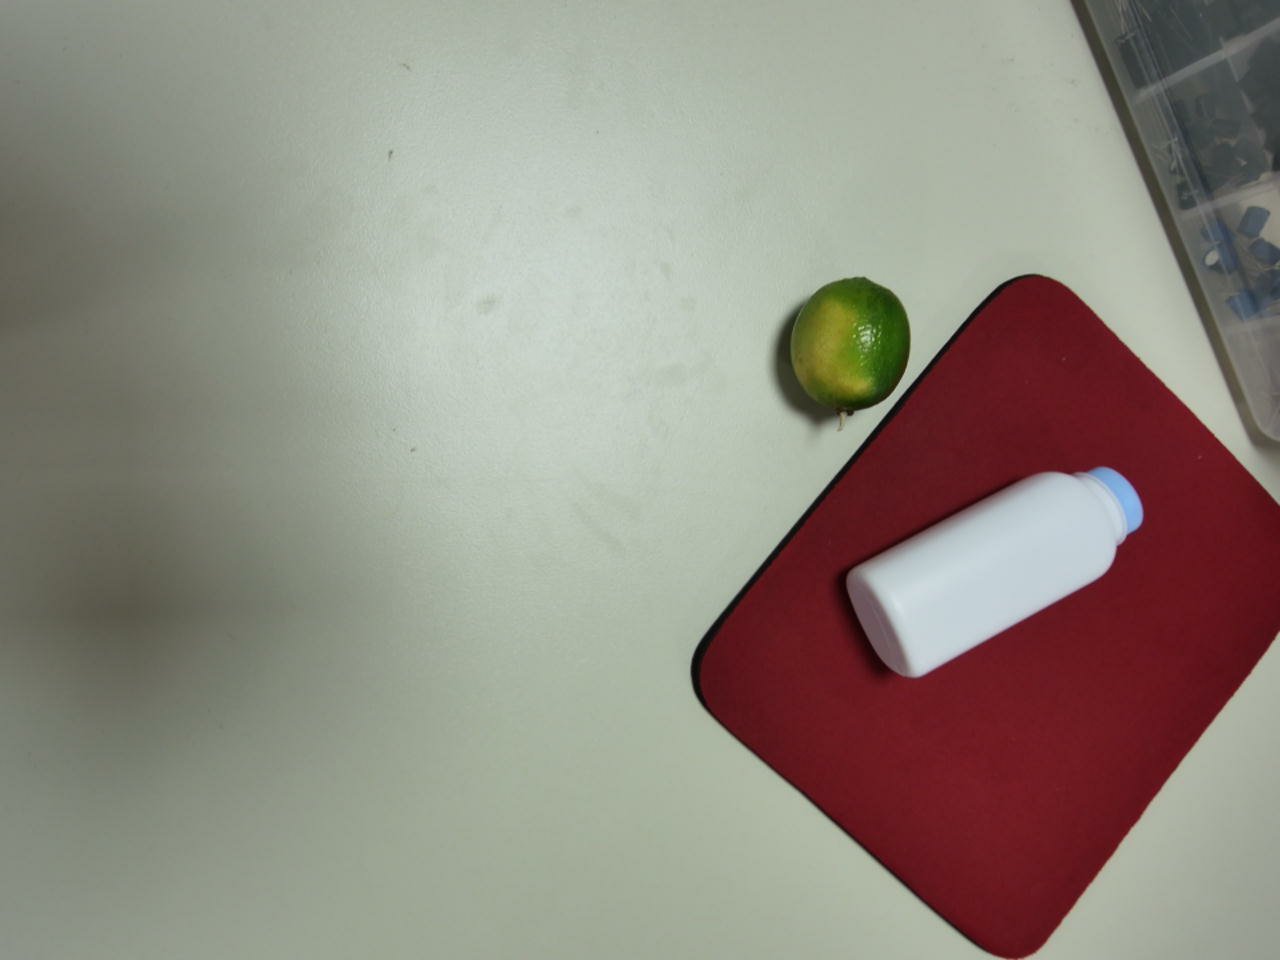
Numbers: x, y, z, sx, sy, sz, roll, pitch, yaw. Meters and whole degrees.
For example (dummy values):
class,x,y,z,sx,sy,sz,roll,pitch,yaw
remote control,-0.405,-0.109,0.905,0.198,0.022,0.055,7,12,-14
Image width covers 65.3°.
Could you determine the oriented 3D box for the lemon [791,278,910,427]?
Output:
class,x,y,z,sx,sy,sz,roll,pitch,yaw
lemon,0.092,-0.059,0.435,0.055,0.050,0.054,-40,98,-9
